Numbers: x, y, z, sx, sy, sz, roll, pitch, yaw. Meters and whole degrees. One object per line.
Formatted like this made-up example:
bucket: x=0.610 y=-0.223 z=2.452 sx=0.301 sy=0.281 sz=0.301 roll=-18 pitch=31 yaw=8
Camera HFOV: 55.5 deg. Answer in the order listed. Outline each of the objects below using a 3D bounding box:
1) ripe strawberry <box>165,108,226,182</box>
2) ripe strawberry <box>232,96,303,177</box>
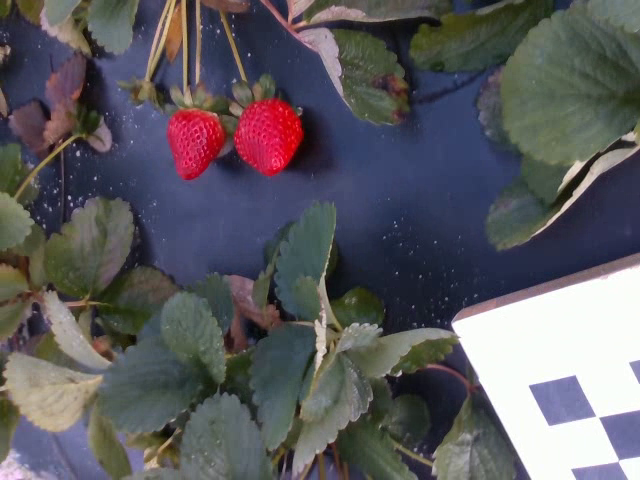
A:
ripe strawberry: x=-0.091 y=-0.068 z=0.437 sx=0.048 sy=0.056 sz=0.041 roll=-8 pitch=-15 yaw=28
ripe strawberry: x=-0.038 y=-0.065 z=0.404 sx=0.051 sy=0.064 sz=0.058 roll=18 pitch=-54 yaw=-41
